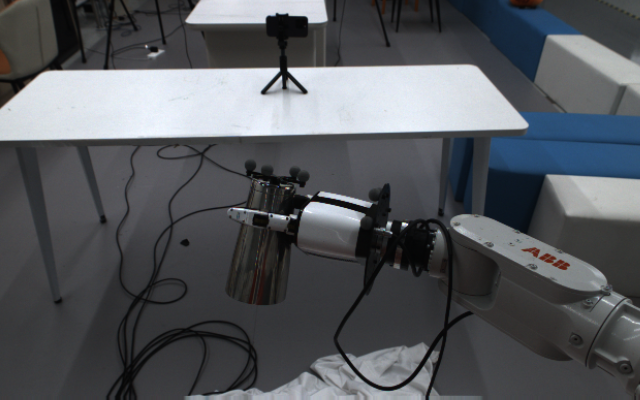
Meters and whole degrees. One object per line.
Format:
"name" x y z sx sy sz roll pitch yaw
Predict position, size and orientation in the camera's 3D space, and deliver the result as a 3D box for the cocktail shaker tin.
"cocktail shaker tin" -0.079 0.055 0.717 0.093 0.170 0.093 10 9 -2
